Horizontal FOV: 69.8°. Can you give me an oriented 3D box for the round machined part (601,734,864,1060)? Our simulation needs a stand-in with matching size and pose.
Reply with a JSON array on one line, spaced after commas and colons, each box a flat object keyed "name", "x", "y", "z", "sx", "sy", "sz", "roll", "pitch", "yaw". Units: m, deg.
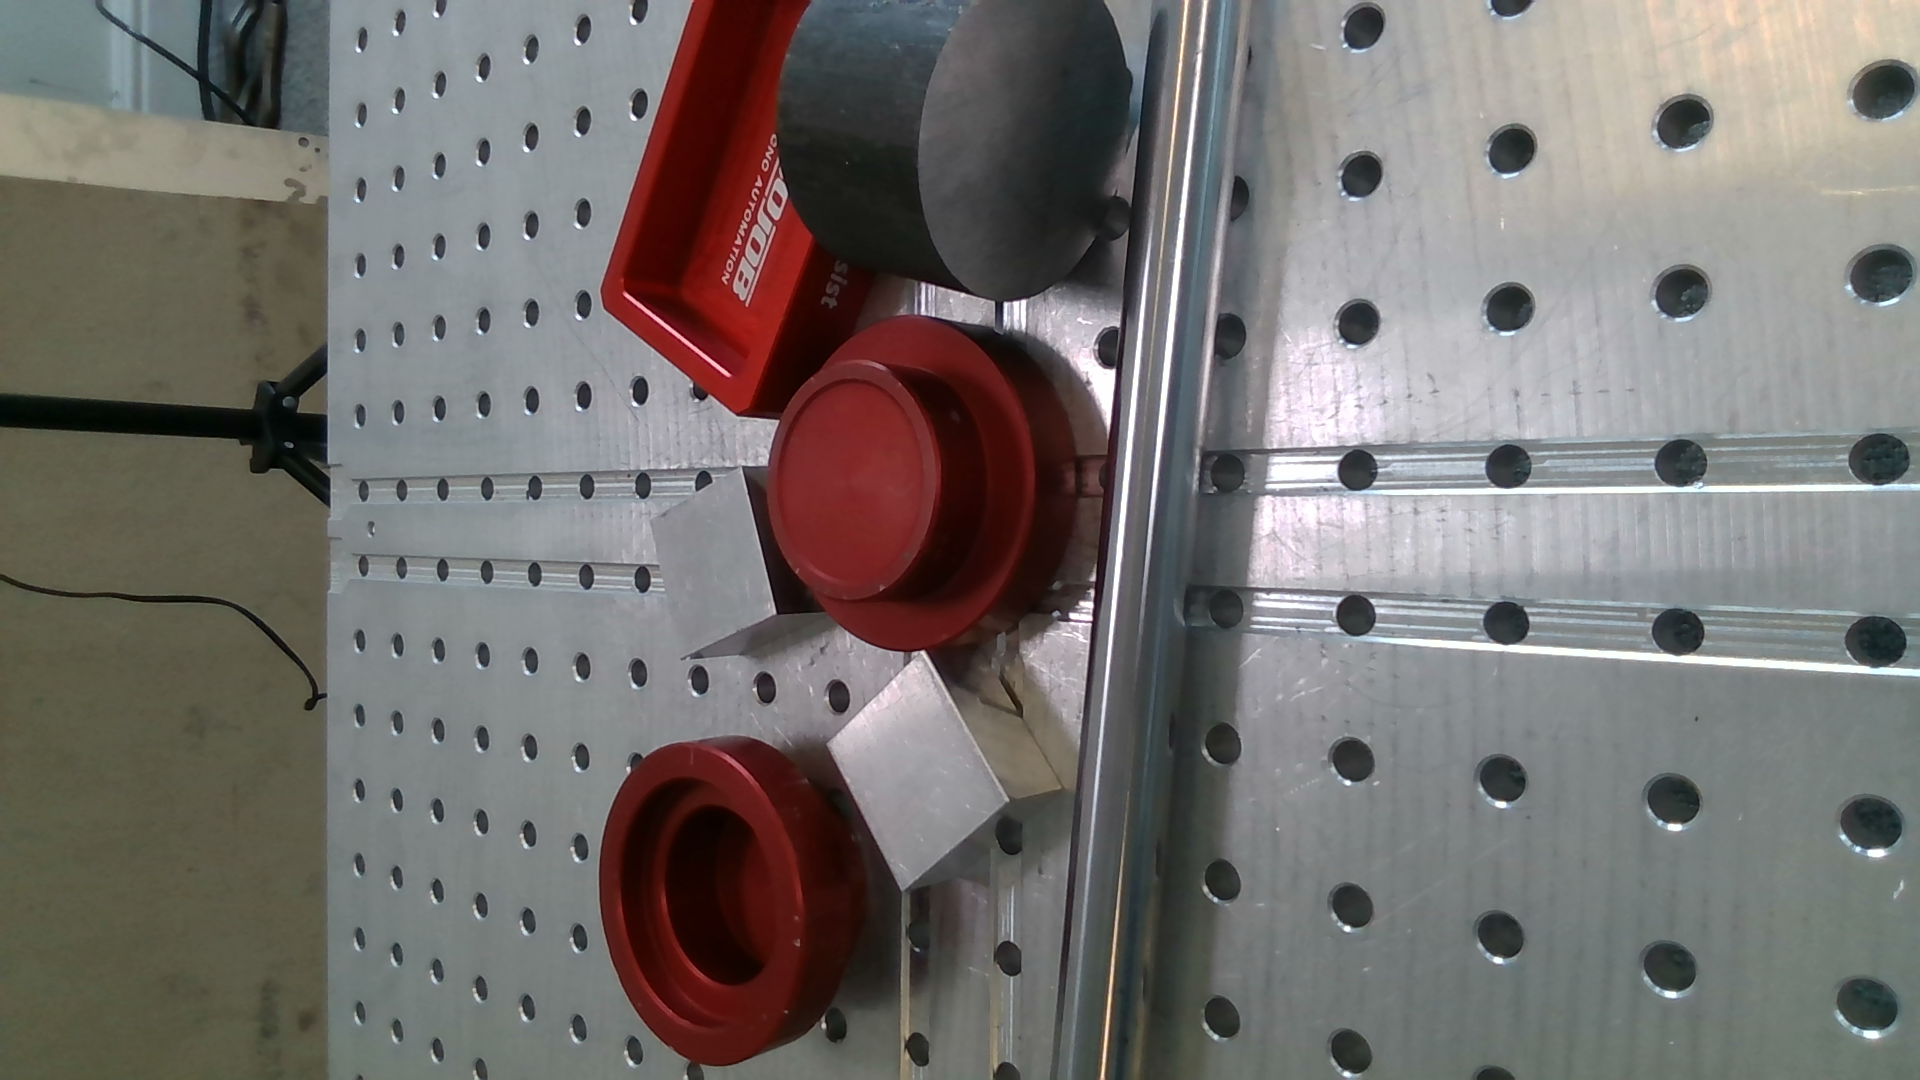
[{"name": "round machined part", "x": -0.069, "y": 0.111, "z": 0.442, "sx": 0.098, "sy": 0.042, "sz": 0.098, "roll": 0, "pitch": 91, "yaw": 40}]

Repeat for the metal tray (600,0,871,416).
[{"name": "metal tray", "x": -0.062, "y": -0.116, "z": 0.441, "sx": 0.090, "sy": 0.030, "sz": 0.130, "roll": 38, "pitch": 113, "yaw": 34}]

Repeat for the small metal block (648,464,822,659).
[{"name": "small metal block", "x": -0.073, "y": 0.008, "z": 0.456, "sx": 0.050, "sy": 0.025, "sz": 0.050, "roll": -25, "pitch": 75, "yaw": 38}]

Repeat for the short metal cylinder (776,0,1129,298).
[{"name": "short metal cylinder", "x": -0.001, "y": -0.108, "z": 0.357, "sx": 0.050, "sy": 0.080, "sz": 0.080, "roll": 23, "pitch": 105, "yaw": 38}]

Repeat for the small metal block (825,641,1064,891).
[{"name": "small metal block", "x": -0.006, "y": 0.065, "z": 0.400, "sx": 0.050, "sy": 0.025, "sz": 0.050, "roll": -46, "pitch": 63, "yaw": 31}]

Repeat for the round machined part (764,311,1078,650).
[{"name": "round machined part", "x": -0.018, "y": -0.017, "z": 0.397, "sx": 0.098, "sy": 0.042, "sz": 0.098, "roll": 0, "pitch": 91, "yaw": 37}]

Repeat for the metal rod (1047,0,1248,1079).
[{"name": "metal rod", "x": 0.047, "y": 0.004, "z": 0.353, "sx": 0.025, "sy": 0.025, "sz": 0.300, "roll": 9, "pitch": 96, "yaw": 40}]
